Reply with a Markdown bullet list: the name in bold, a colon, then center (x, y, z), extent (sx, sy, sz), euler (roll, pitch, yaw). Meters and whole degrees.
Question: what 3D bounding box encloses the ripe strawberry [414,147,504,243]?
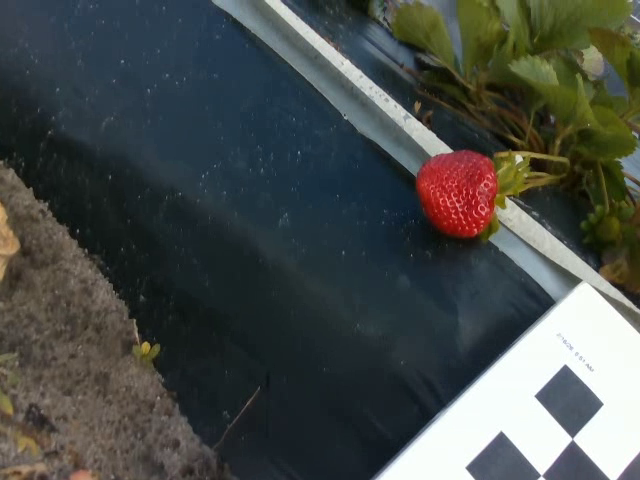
- **ripe strawberry**: center (0.063, -0.022, 0.253), extent (0.052, 0.048, 0.030), euler (12, -26, -28)
